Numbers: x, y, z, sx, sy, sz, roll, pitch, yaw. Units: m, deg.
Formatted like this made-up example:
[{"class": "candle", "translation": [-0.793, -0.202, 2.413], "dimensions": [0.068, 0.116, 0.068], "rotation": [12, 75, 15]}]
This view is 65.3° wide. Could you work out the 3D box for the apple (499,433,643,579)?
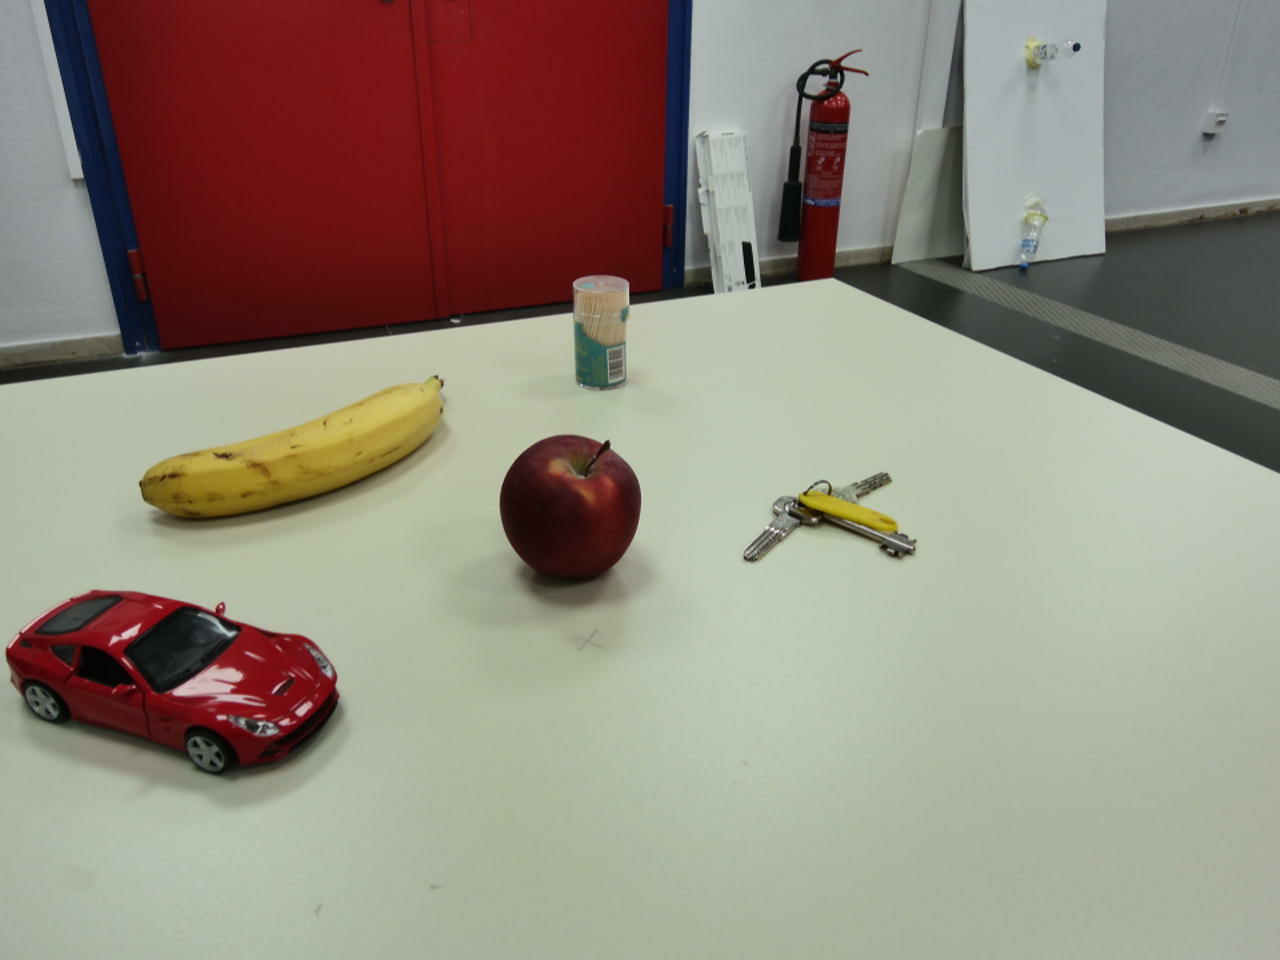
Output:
[{"class": "apple", "translation": [-0.034, 0.013, 0.490], "dimensions": [0.070, 0.072, 0.070], "rotation": [0, 26, 0]}]
